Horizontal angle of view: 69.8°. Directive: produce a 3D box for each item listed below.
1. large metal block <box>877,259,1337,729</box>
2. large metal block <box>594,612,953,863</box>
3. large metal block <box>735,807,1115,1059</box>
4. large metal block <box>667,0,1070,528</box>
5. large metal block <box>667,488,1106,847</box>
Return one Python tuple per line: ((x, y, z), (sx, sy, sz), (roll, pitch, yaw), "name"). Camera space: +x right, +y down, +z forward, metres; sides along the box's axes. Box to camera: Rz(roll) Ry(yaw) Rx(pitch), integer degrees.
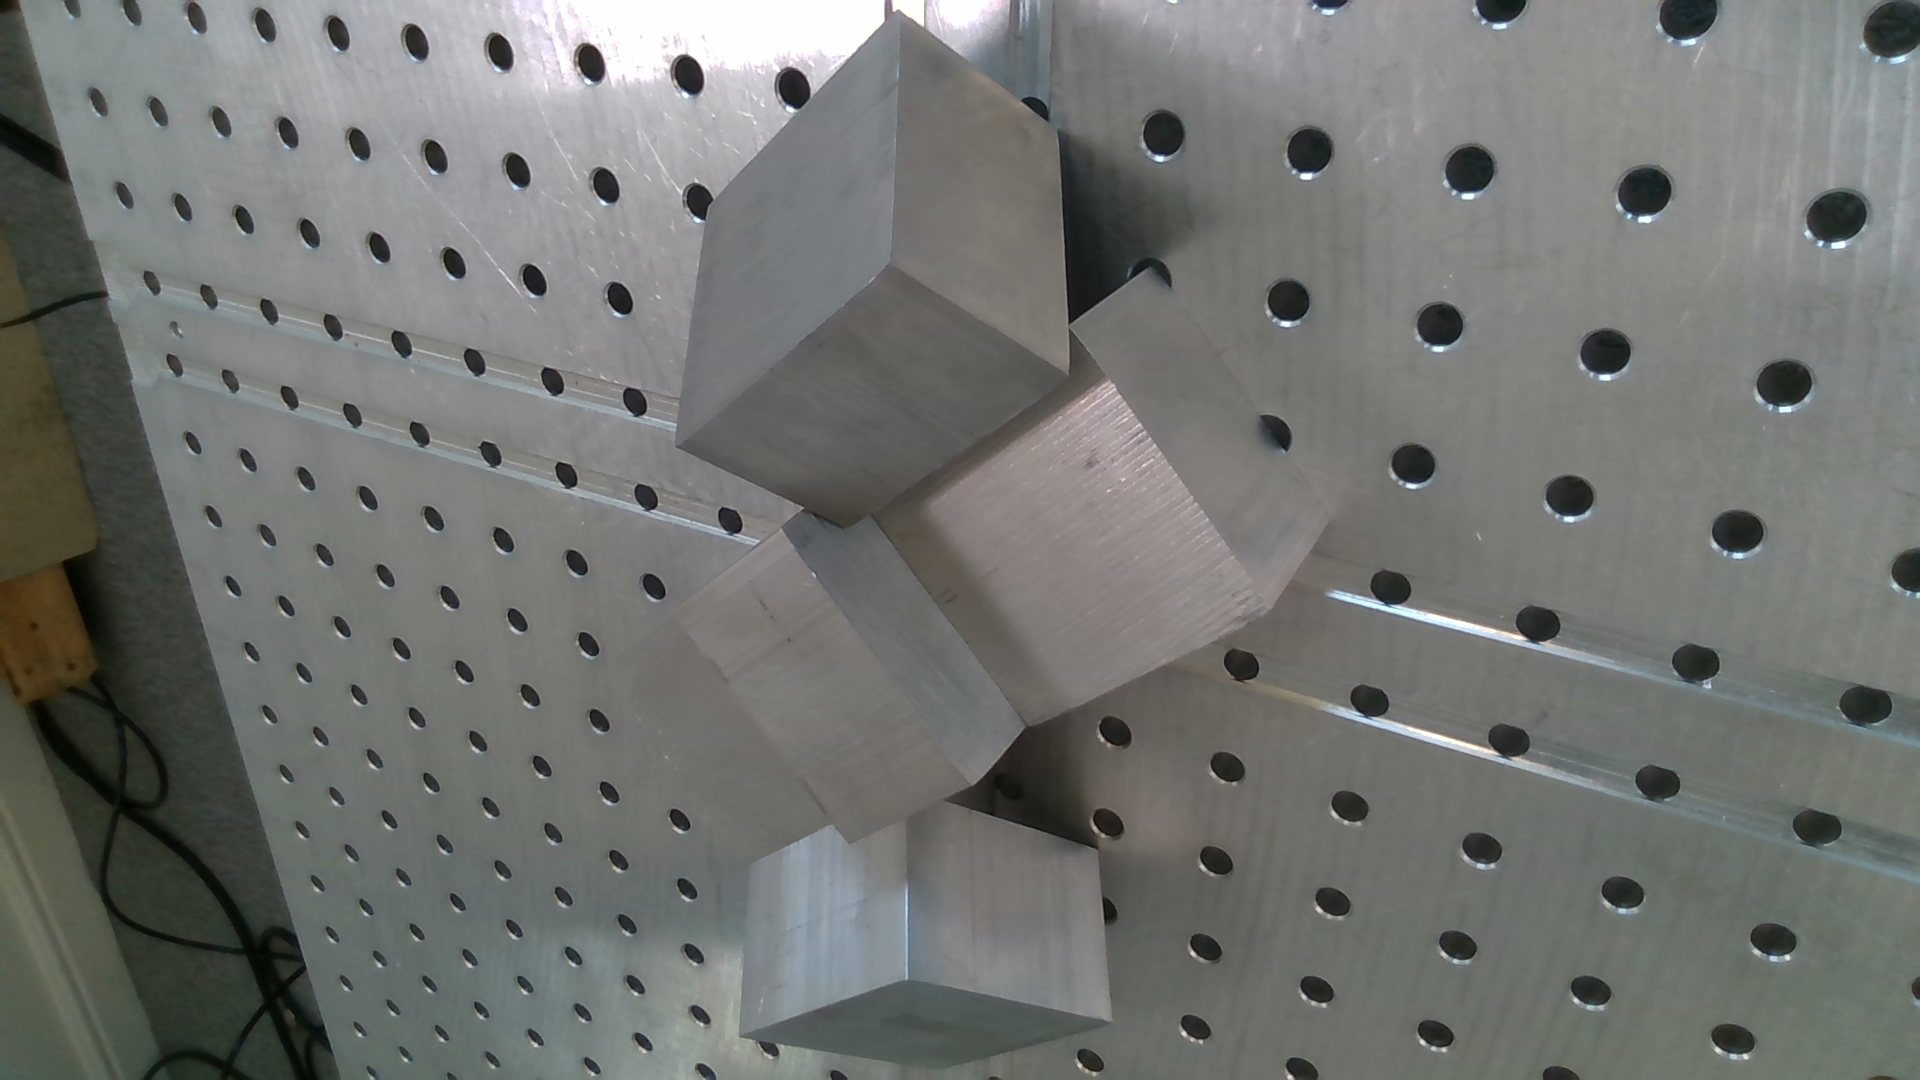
((0.033, -0.010, 0.349), (0.080, 0.050, 0.080), (-32, 95, 40), "large metal block")
((-0.054, 0.044, 0.432), (0.080, 0.050, 0.080), (-32, 96, 38), "large metal block")
((-0.011, 0.122, 0.422), (0.080, 0.050, 0.080), (25, 140, -34), "large metal block")
((-0.022, -0.062, 0.326), (0.050, 0.080, 0.080), (26, 139, -33), "large metal block")
((-0.017, 0.022, 0.378), (0.050, 0.080, 0.080), (-33, 96, 40), "large metal block")
